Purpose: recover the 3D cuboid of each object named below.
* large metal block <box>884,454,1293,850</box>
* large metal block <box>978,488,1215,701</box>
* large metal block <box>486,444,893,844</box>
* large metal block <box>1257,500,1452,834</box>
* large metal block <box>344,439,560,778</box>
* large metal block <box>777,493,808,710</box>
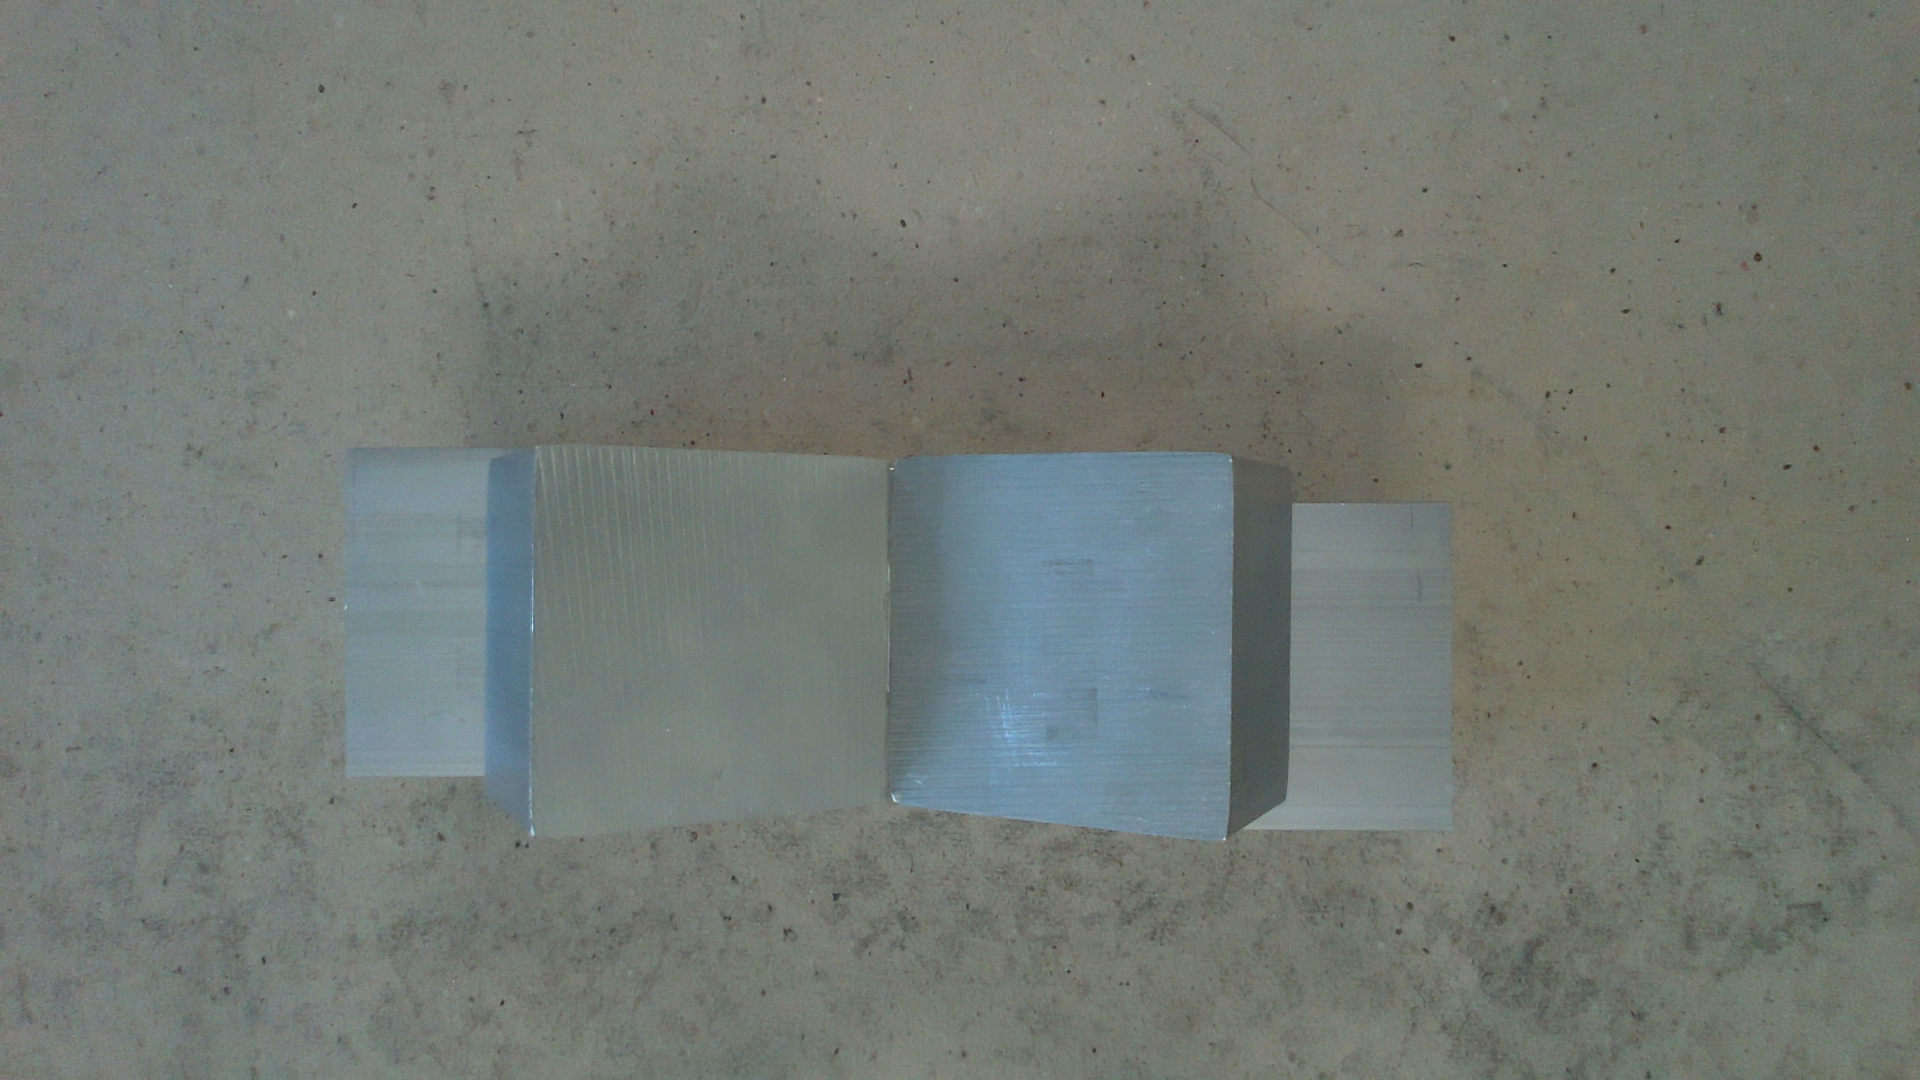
[{"bbox_3d":[0.030,0.022,0.318,0.080,0.050,0.080,1,90,27],"label":"large metal block"},{"bbox_3d":[0.027,0.024,0.382,0.080,0.050,0.080,0,90,0],"label":"large metal block"},{"bbox_3d":[-0.063,0.021,0.317,0.080,0.050,0.080,0,90,-29],"label":"large metal block"},{"bbox_3d":[0.093,0.030,0.370,0.050,0.080,0.080,0,90,-1],"label":"large metal block"},{"bbox_3d":[-0.121,0.017,0.367,0.050,0.080,0.080,-1,89,1],"label":"large metal block"},{"bbox_3d":[-0.053,0.021,0.382,0.080,0.050,0.080,0,90,0],"label":"large metal block"}]
